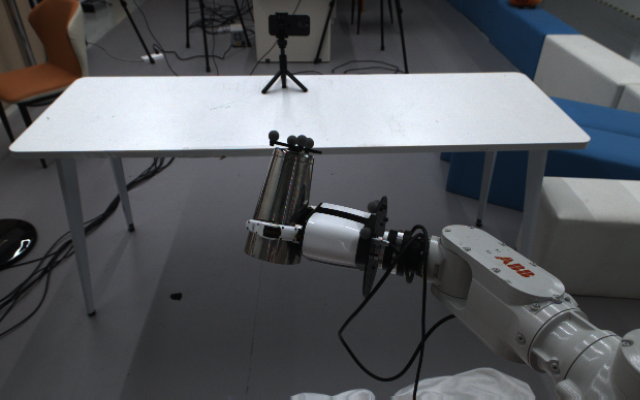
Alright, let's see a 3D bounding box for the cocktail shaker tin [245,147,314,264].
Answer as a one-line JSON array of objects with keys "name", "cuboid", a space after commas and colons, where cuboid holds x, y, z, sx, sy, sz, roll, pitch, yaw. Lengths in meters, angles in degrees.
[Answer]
[{"name": "cocktail shaker tin", "cuboid": [-0.059, 0.007, 0.769, 0.093, 0.170, 0.093, 12, 5, -1]}]
